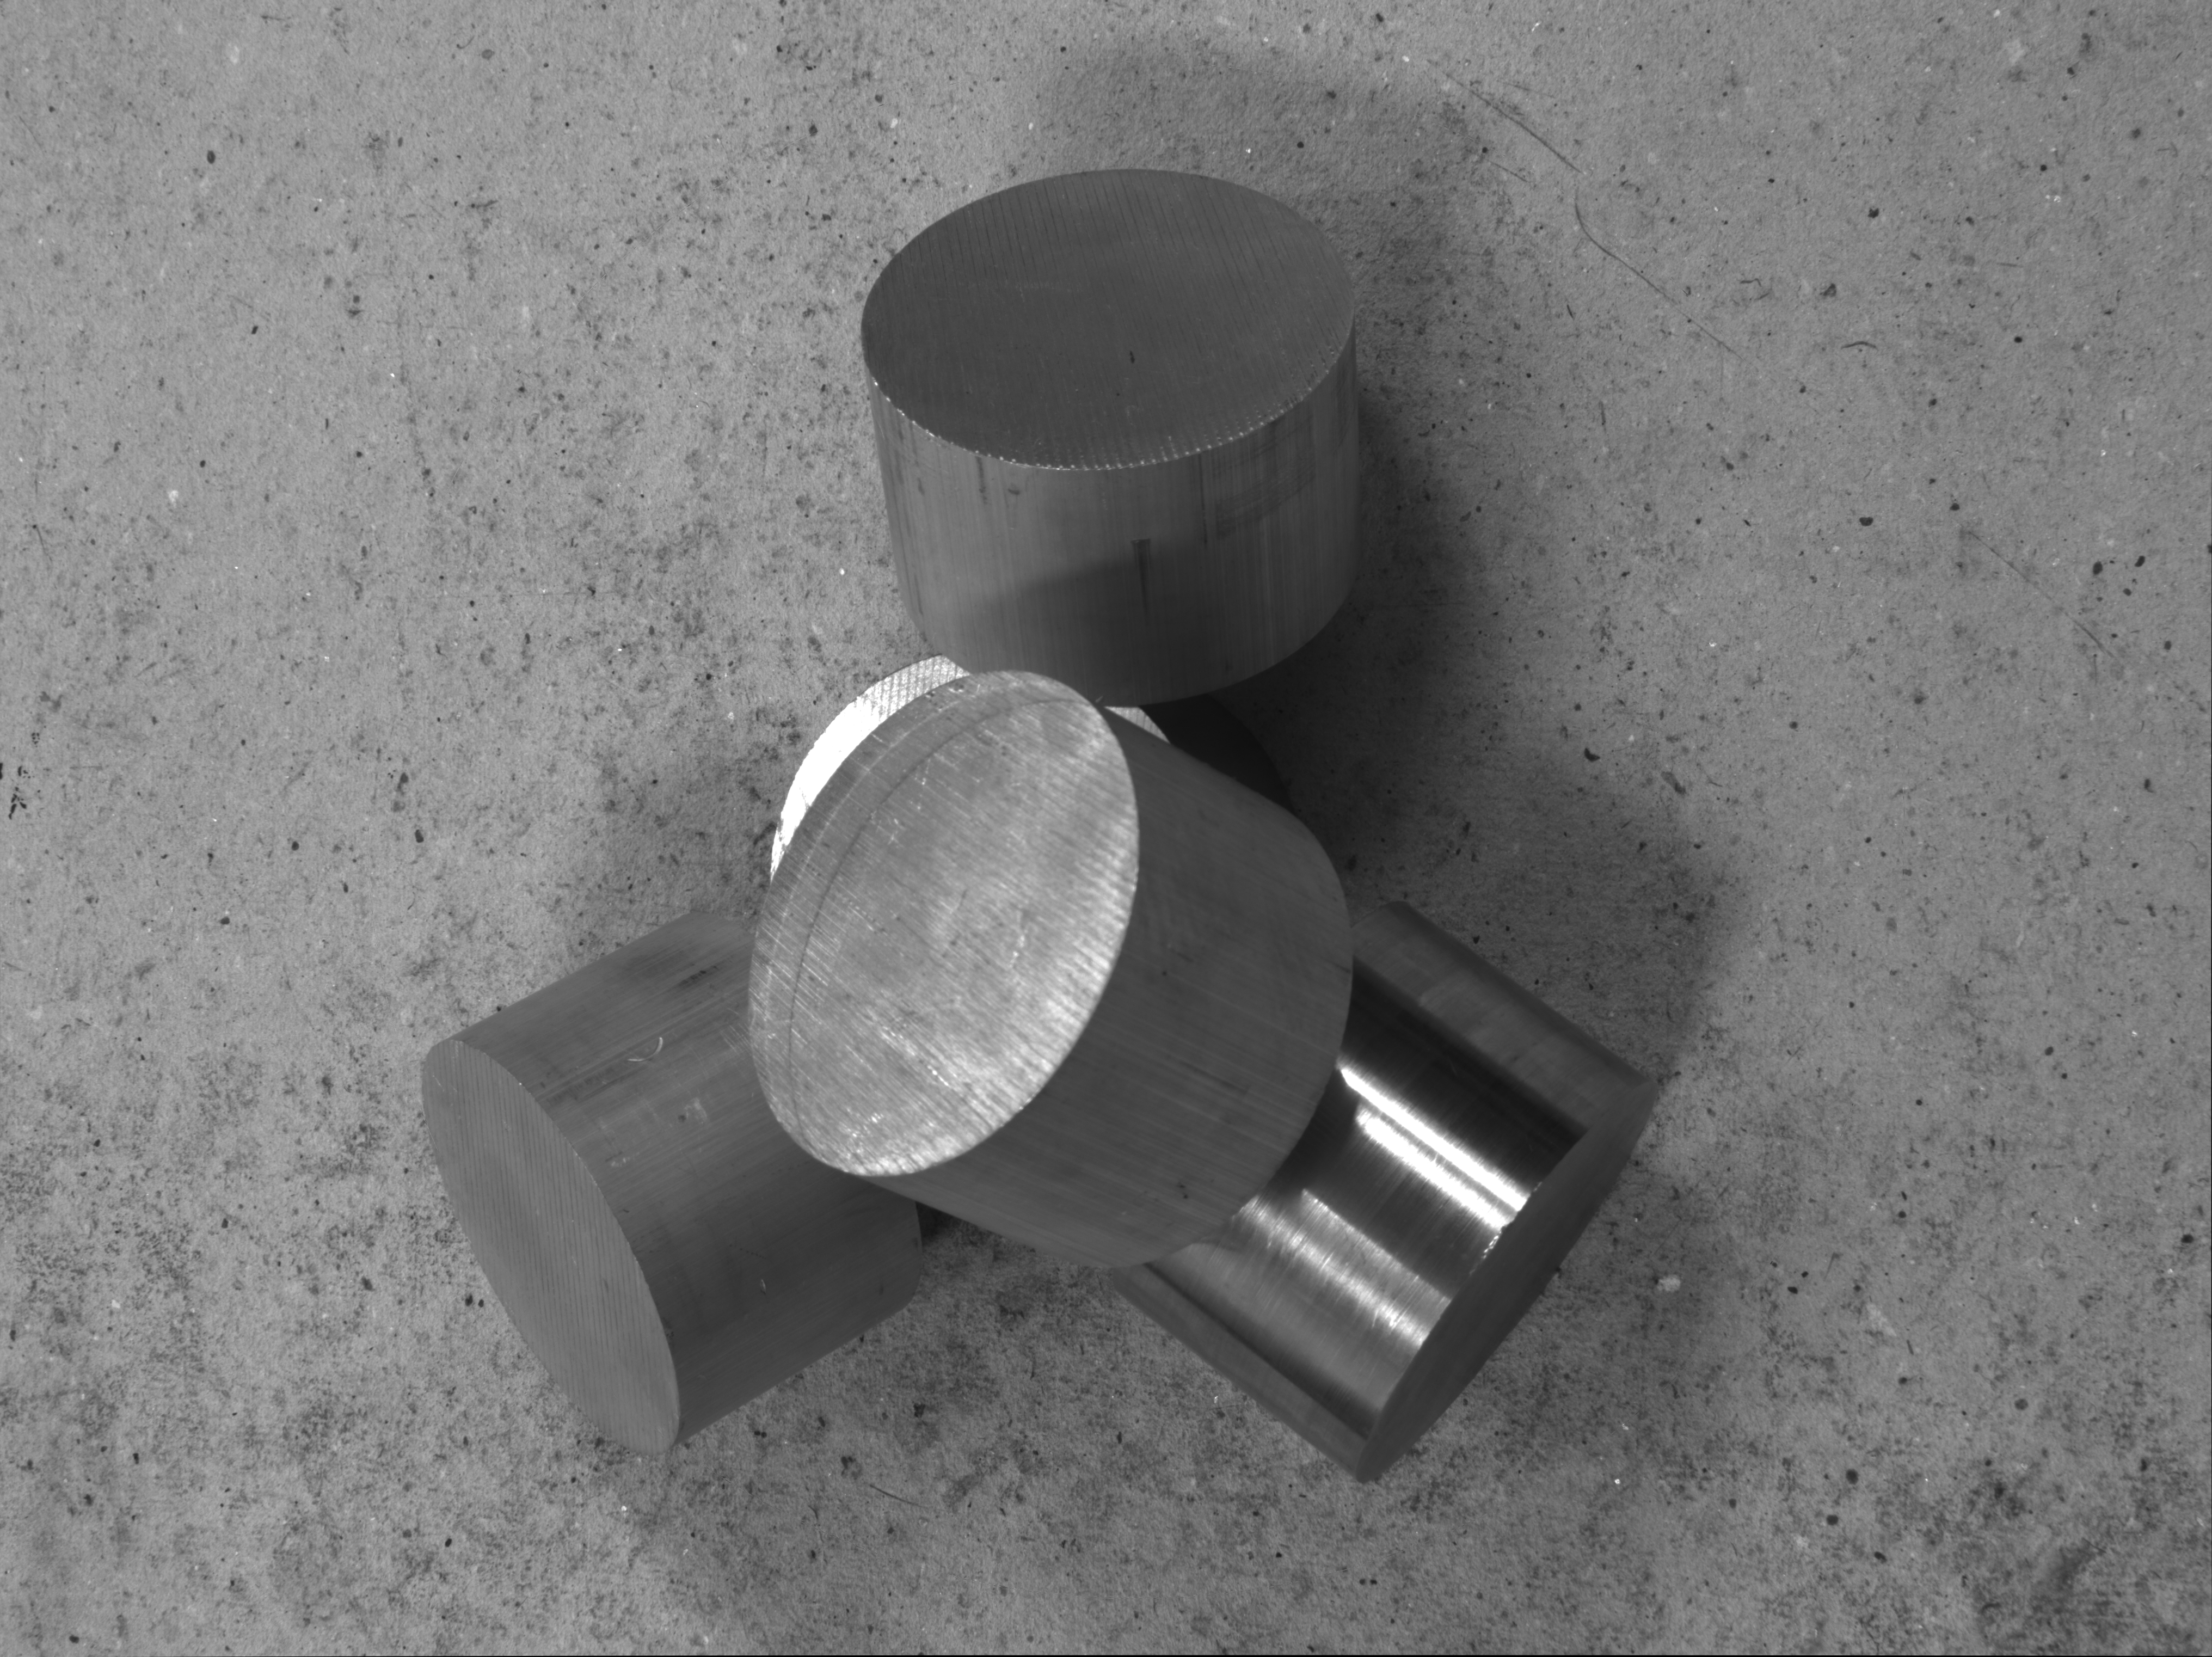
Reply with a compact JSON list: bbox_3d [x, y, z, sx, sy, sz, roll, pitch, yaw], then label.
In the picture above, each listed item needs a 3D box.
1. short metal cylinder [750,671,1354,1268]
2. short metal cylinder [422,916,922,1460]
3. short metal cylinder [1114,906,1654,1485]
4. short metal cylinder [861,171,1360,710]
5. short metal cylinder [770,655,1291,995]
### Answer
[{"bbox_3d":[-0.009,0.022,0.565,0.080,0.050,0.080,-21,56,36],"label":"short metal cylinder"},{"bbox_3d":[-0.076,0.062,0.639,0.080,0.050,0.080,39,144,36],"label":"short metal cylinder"},{"bbox_3d":[0.046,0.060,0.600,0.050,0.080,0.080,36,102,16],"label":"short metal cylinder"},{"bbox_3d":[0.002,-0.065,0.610,0.080,0.080,0.050,15,138,19],"label":"short metal cylinder"},{"bbox_3d":[-0.011,0.010,0.637,0.080,0.050,0.080,0,89,20],"label":"short metal cylinder"}]
